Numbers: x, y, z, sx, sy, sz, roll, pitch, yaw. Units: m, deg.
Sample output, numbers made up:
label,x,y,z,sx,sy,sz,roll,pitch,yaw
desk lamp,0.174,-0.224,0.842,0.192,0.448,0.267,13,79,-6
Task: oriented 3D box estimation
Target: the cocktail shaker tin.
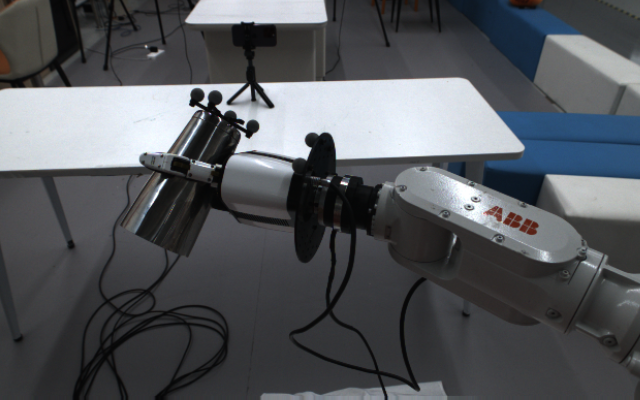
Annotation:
label,x,y,z,sx,sy,sz,roll,pitch,yaw
cocktail shaker tin,-0.167,-0.026,0.614,0.093,0.093,0.170,21,81,25
